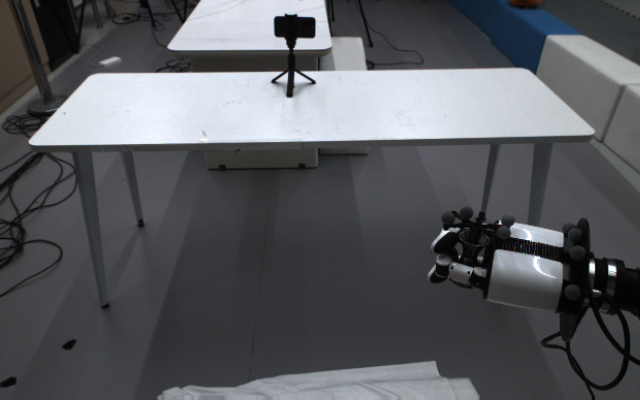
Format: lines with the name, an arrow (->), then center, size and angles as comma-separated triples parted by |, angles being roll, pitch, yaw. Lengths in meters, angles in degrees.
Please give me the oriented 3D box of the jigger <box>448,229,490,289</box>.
jigger -> 0.207, 0.079, 0.664 | 0.043, 0.071, 0.043 | 3, 25, -1
